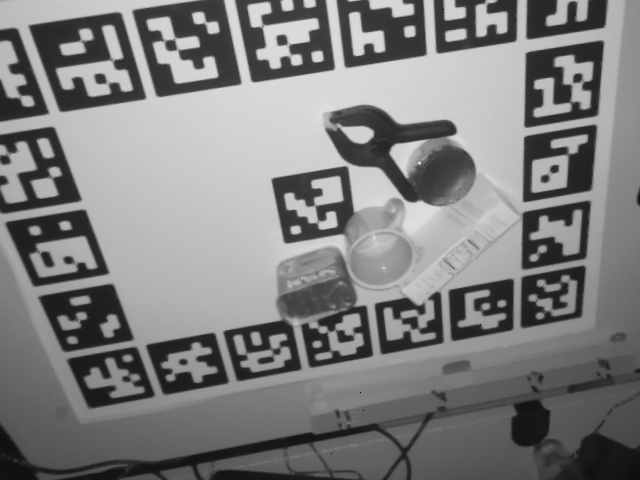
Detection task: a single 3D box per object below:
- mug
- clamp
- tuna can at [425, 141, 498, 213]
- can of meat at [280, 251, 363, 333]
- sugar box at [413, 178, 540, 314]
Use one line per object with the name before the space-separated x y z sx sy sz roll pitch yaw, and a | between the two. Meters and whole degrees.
mug | 0.093 0.010 0.874 0.094 0.082 0.116 14 114 -12
clamp | 0.091 -0.118 0.841 0.166 0.037 0.120 24 117 -13
tuna can | 0.176 -0.080 0.865 0.086 0.034 0.085 -3 117 -5
can of meat | 0.000 0.065 0.903 0.102 0.084 0.057 -16 120 4
sugar box | 0.186 0.007 0.887 0.045 0.093 0.175 39 109 -24
